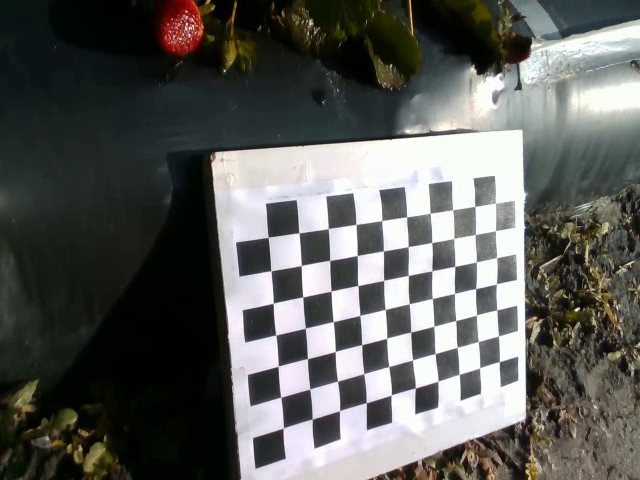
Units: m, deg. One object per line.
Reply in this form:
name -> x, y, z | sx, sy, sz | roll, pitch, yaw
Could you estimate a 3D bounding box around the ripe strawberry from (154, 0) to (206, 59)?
ripe strawberry -> -0.099, -0.148, 0.394 | 0.038, 0.053, 0.043 | -33, -62, 30
